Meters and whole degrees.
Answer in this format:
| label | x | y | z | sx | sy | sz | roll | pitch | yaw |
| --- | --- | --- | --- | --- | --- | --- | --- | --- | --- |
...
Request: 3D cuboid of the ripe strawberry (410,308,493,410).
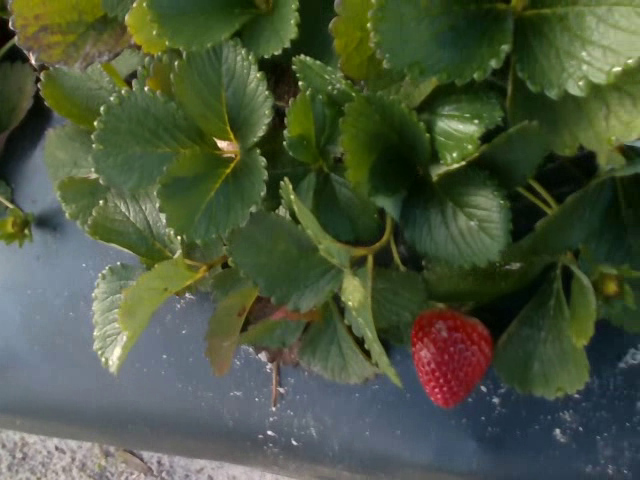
| label | x | y | z | sx | sy | sz | roll | pitch | yaw |
| --- | --- | --- | --- | --- | --- | --- | --- | --- | --- |
| ripe strawberry | 0.028 | 0.026 | 0.125 | 0.018 | 0.023 | 0.020 | 4 | 0 | 39 |
